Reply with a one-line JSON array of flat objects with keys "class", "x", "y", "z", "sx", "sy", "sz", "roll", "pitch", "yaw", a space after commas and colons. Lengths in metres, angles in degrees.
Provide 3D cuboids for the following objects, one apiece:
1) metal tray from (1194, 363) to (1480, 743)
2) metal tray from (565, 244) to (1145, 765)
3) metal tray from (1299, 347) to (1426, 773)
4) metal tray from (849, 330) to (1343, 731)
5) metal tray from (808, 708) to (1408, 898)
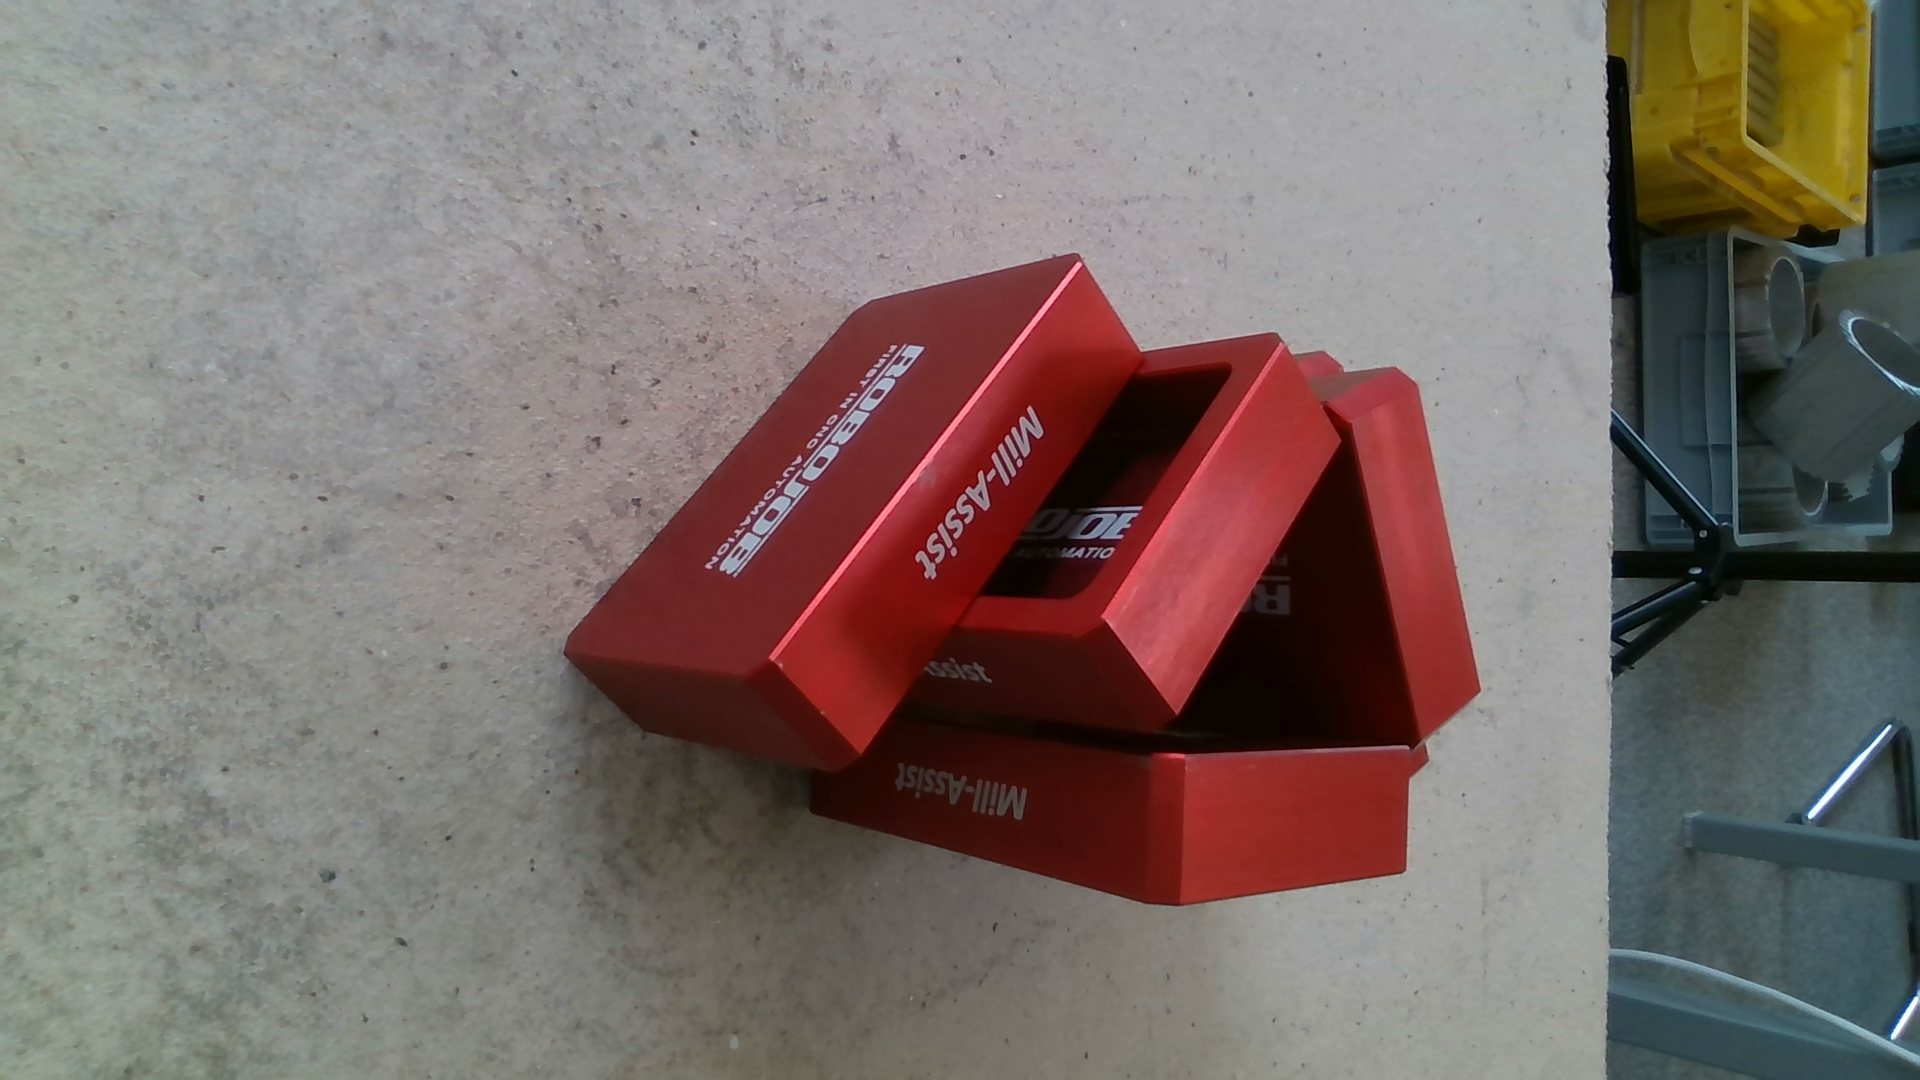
[{"class": "metal tray", "x": 0.069, "y": 0.005, "z": 0.380, "sx": 0.030, "sy": 0.130, "sz": 0.090, "roll": -26, "pitch": 106, "yaw": -37}, {"class": "metal tray", "x": -0.025, "y": -0.012, "z": 0.327, "sx": 0.030, "sy": 0.090, "sz": 0.130, "roll": 51, "pitch": 60, "yaw": -28}, {"class": "metal tray", "x": 0.083, "y": 0.012, "z": 0.418, "sx": 0.030, "sy": 0.090, "sz": 0.130, "roll": -26, "pitch": 107, "yaw": -37}, {"class": "metal tray", "x": 0.015, "y": -0.004, "z": 0.335, "sx": 0.030, "sy": 0.130, "sz": 0.090, "roll": 51, "pitch": 60, "yaw": -28}, {"class": "metal tray", "x": 0.033, "y": 0.060, "z": 0.350, "sx": 0.090, "sy": 0.130, "sz": 0.030, "roll": 6, "pitch": 86, "yaw": -40}]
